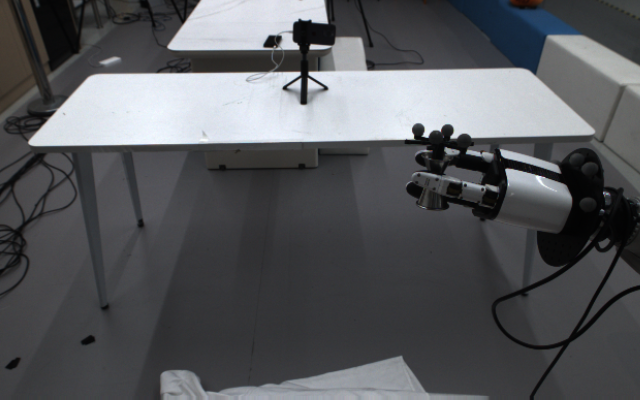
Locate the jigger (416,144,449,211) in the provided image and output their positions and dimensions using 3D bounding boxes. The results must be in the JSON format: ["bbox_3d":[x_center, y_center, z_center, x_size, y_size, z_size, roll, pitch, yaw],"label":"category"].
[{"bbox_3d":[0.151,-0.027,0.644,0.043,0.071,0.043,1,20,0],"label":"jigger"}]
